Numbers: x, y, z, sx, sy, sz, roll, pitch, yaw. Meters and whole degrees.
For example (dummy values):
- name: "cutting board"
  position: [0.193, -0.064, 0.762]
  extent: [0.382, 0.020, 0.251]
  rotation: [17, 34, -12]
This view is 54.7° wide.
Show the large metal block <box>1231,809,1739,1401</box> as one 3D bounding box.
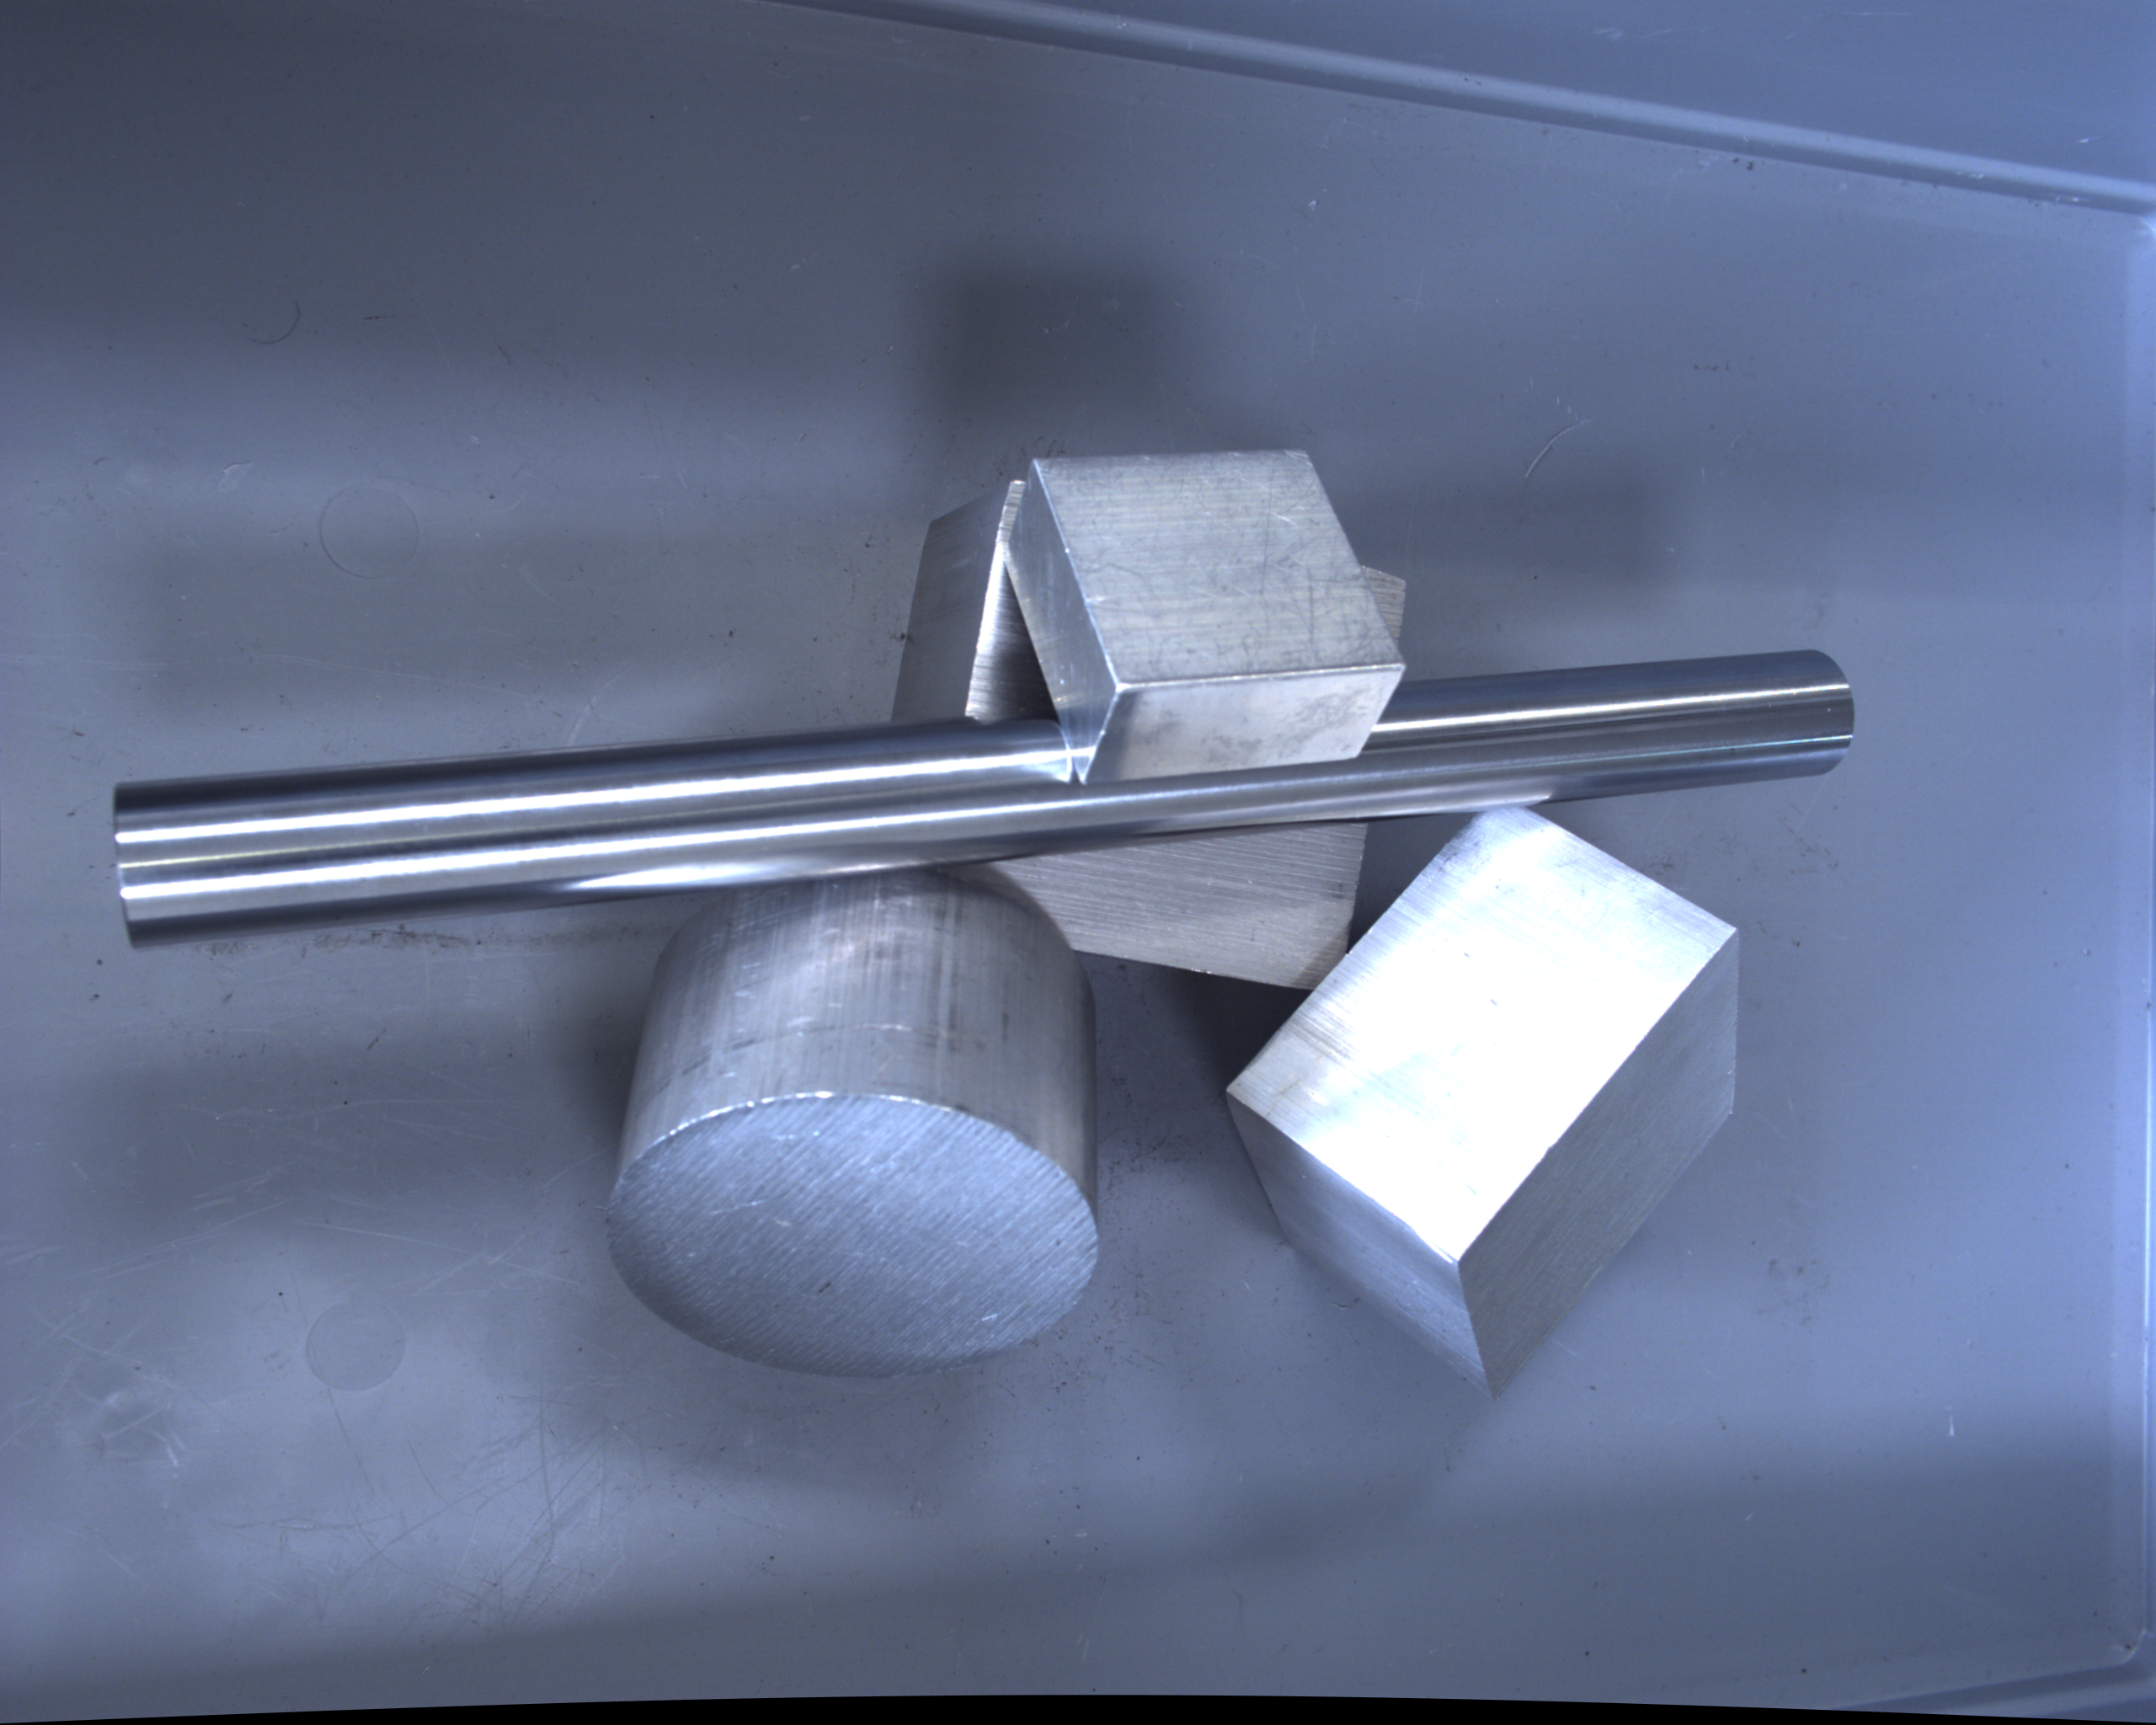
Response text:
- name: "large metal block"
  position: [0.082, 0.046, 0.403]
  extent: [0.080, 0.050, 0.080]
  rotation: [-47, 148, -14]

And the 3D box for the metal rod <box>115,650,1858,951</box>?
- name: "metal rod"
  position: [0.002, -0.014, 0.357]
  extent: [0.303, 0.025, 0.025]
  rotation: [-6, 92, -20]

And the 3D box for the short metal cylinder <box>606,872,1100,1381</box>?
- name: "short metal cylinder"
  position: [-0.037, 0.046, 0.360]
  extent: [0.080, 0.080, 0.050]
  rotation: [21, 41, -19]

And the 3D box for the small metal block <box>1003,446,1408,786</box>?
- name: "small metal block"
  position: [0.020, -0.042, 0.350]
  extent: [0.050, 0.025, 0.050]
  rotation: [-6, 57, -20]

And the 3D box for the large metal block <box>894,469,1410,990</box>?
- name: "large metal block"
  position: [0.009, -0.023, 0.399]
  extent: [0.081, 0.050, 0.080]
  rotation: [11, 86, -20]
